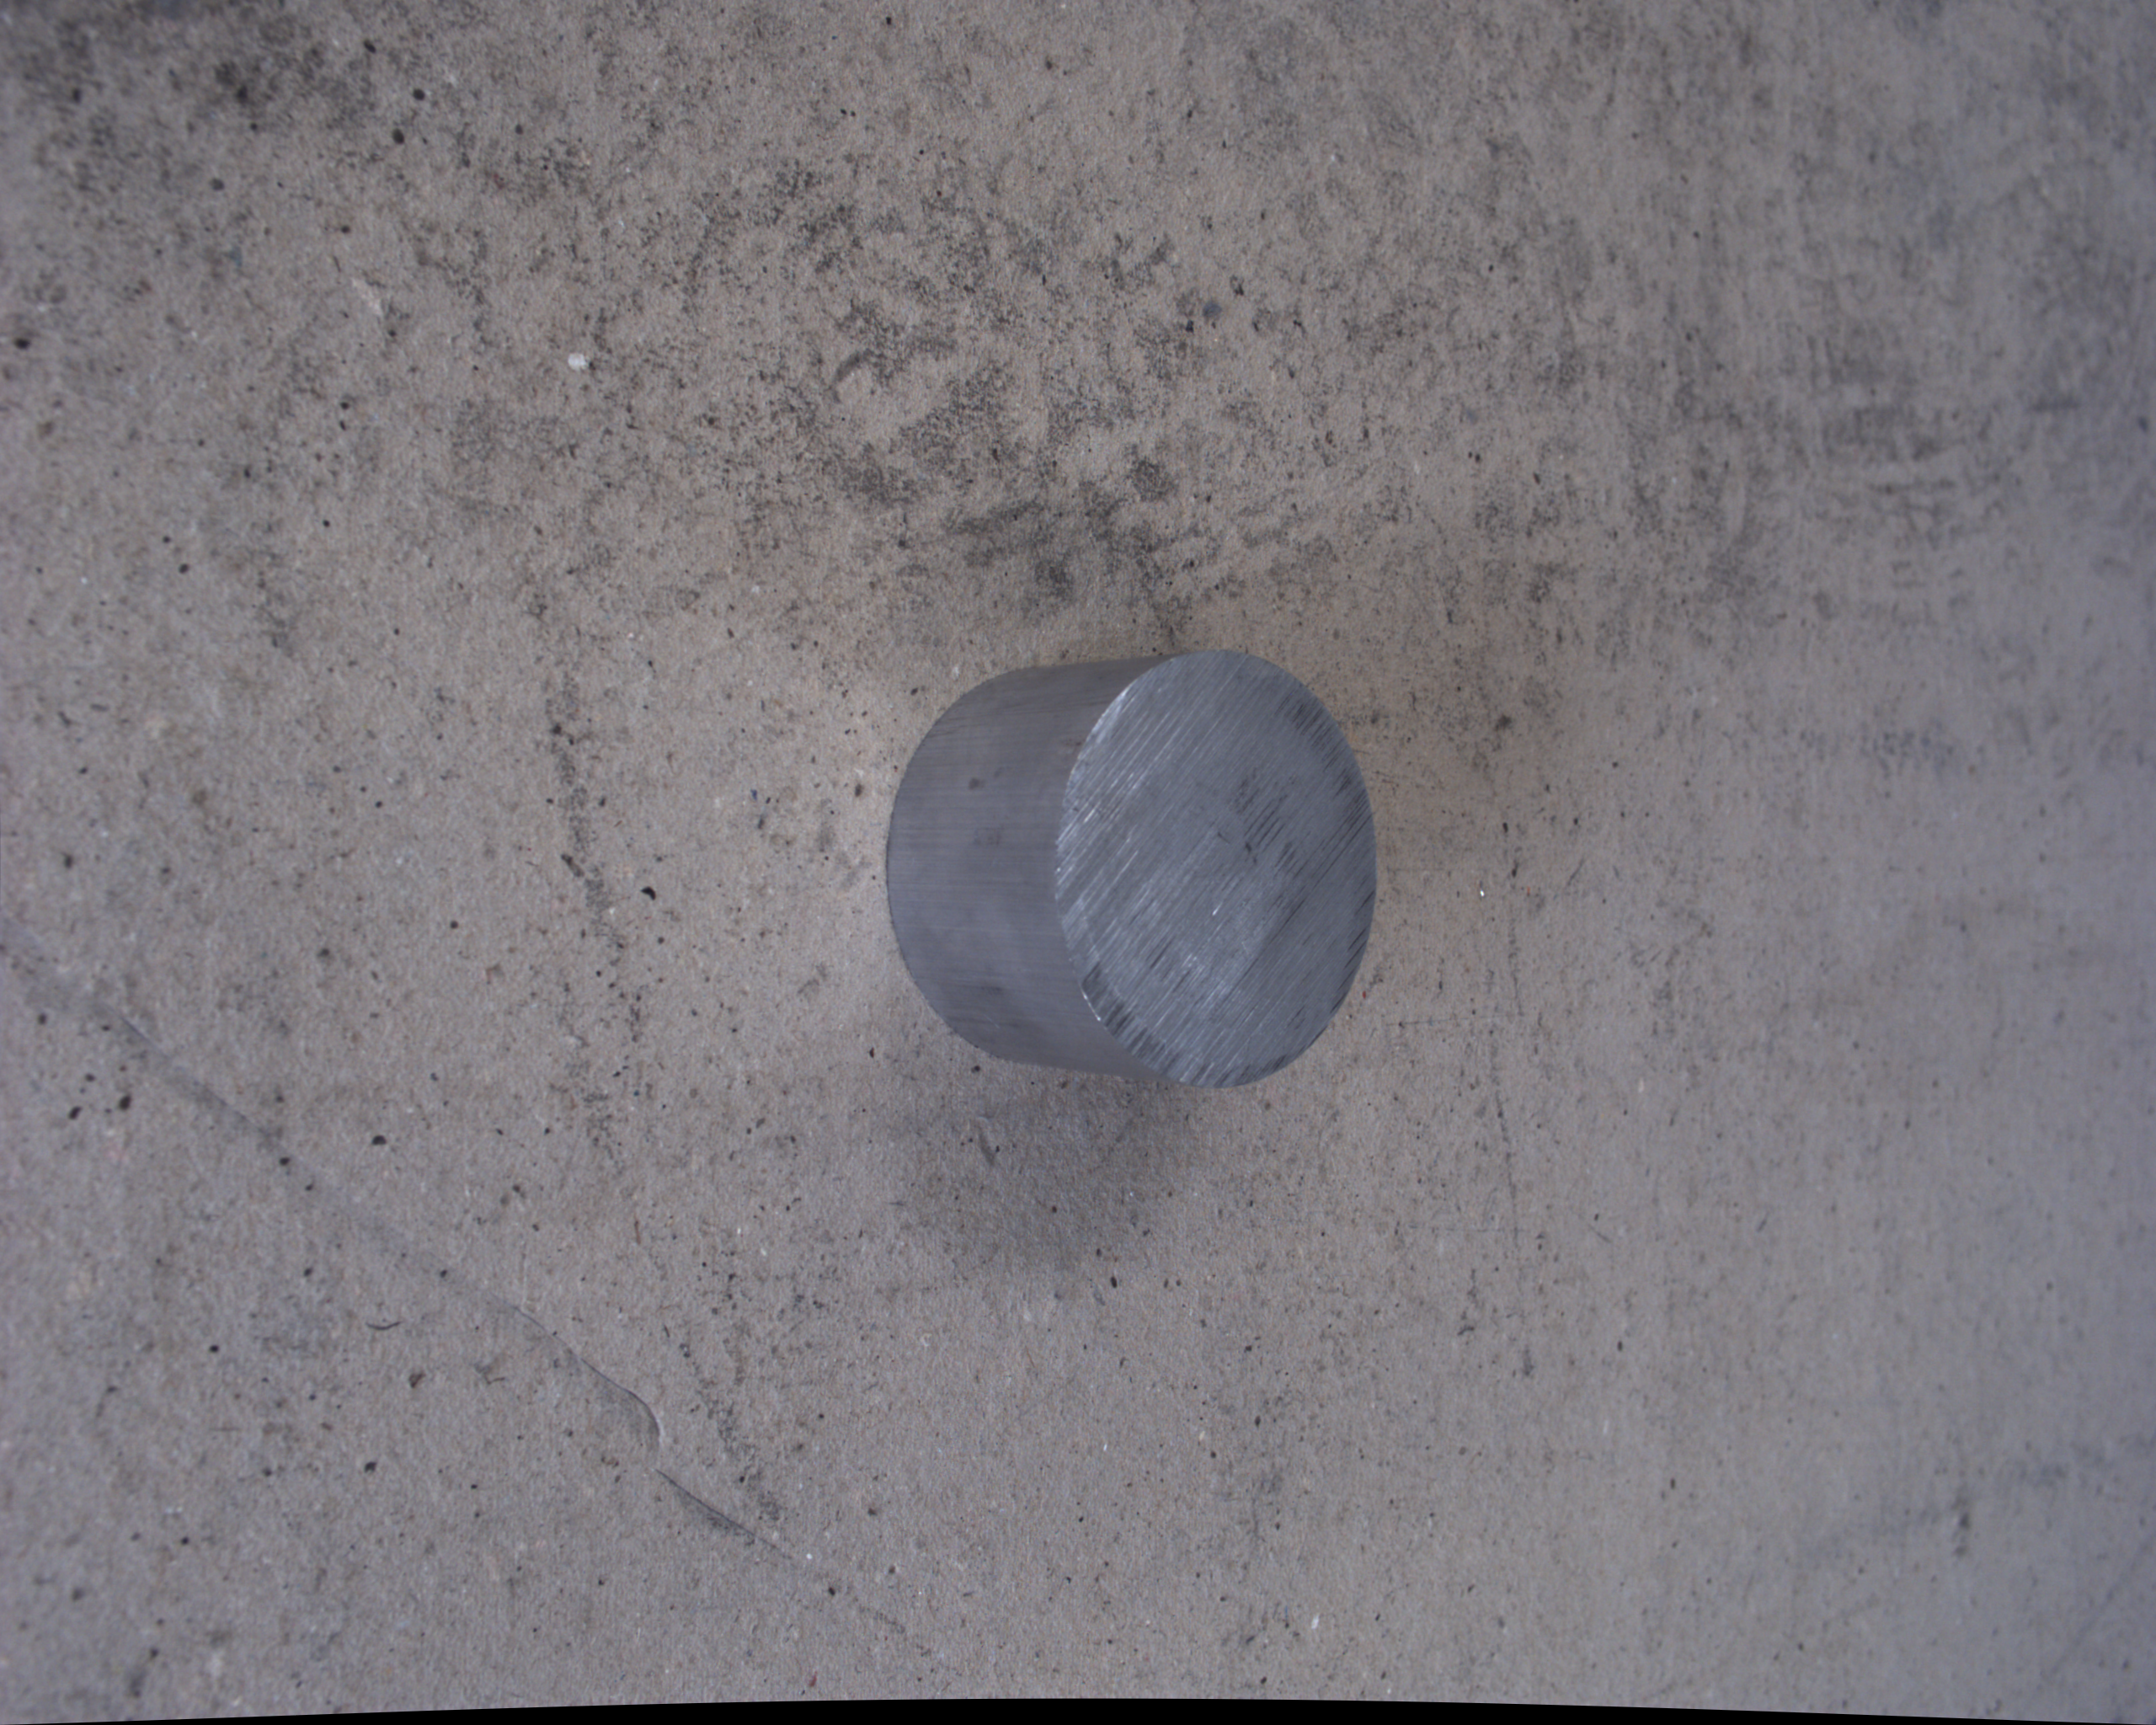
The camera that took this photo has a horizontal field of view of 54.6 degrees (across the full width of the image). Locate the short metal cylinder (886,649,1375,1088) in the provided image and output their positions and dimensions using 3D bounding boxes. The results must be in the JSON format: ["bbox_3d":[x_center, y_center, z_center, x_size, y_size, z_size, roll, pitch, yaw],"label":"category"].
[{"bbox_3d":[0.011,0.001,0.398,0.081,0.050,0.080,0,90,-41],"label":"short metal cylinder"}]
